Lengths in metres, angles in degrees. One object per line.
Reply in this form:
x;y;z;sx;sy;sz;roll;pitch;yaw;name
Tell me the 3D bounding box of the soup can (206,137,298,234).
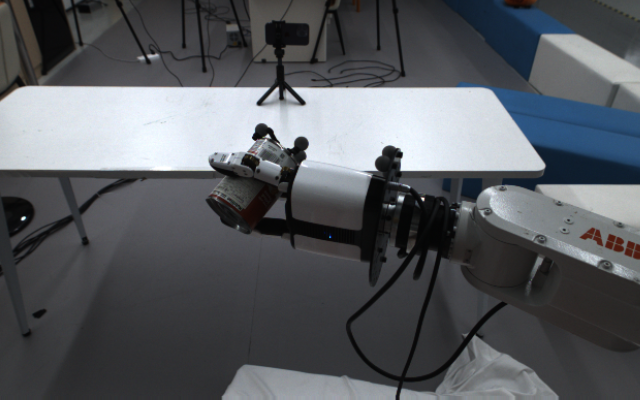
-0.079;-0.018;0.590;0.067;0.067;0.101;25;66;30;soup can
